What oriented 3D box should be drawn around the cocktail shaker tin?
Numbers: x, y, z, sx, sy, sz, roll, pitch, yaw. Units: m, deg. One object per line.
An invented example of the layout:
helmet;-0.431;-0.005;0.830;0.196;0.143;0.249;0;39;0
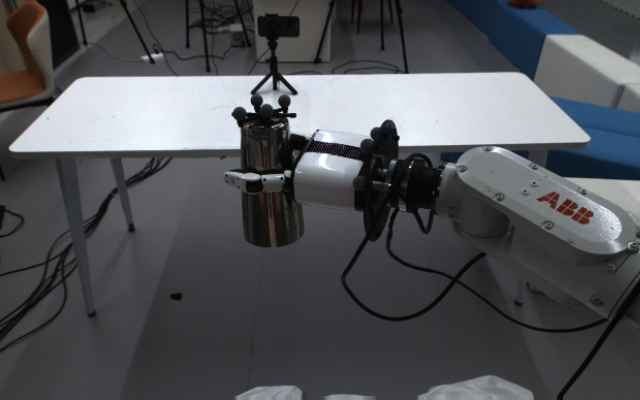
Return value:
cocktail shaker tin;-0.070;-0.030;0.685;0.093;0.170;0.093;-2;26;1
